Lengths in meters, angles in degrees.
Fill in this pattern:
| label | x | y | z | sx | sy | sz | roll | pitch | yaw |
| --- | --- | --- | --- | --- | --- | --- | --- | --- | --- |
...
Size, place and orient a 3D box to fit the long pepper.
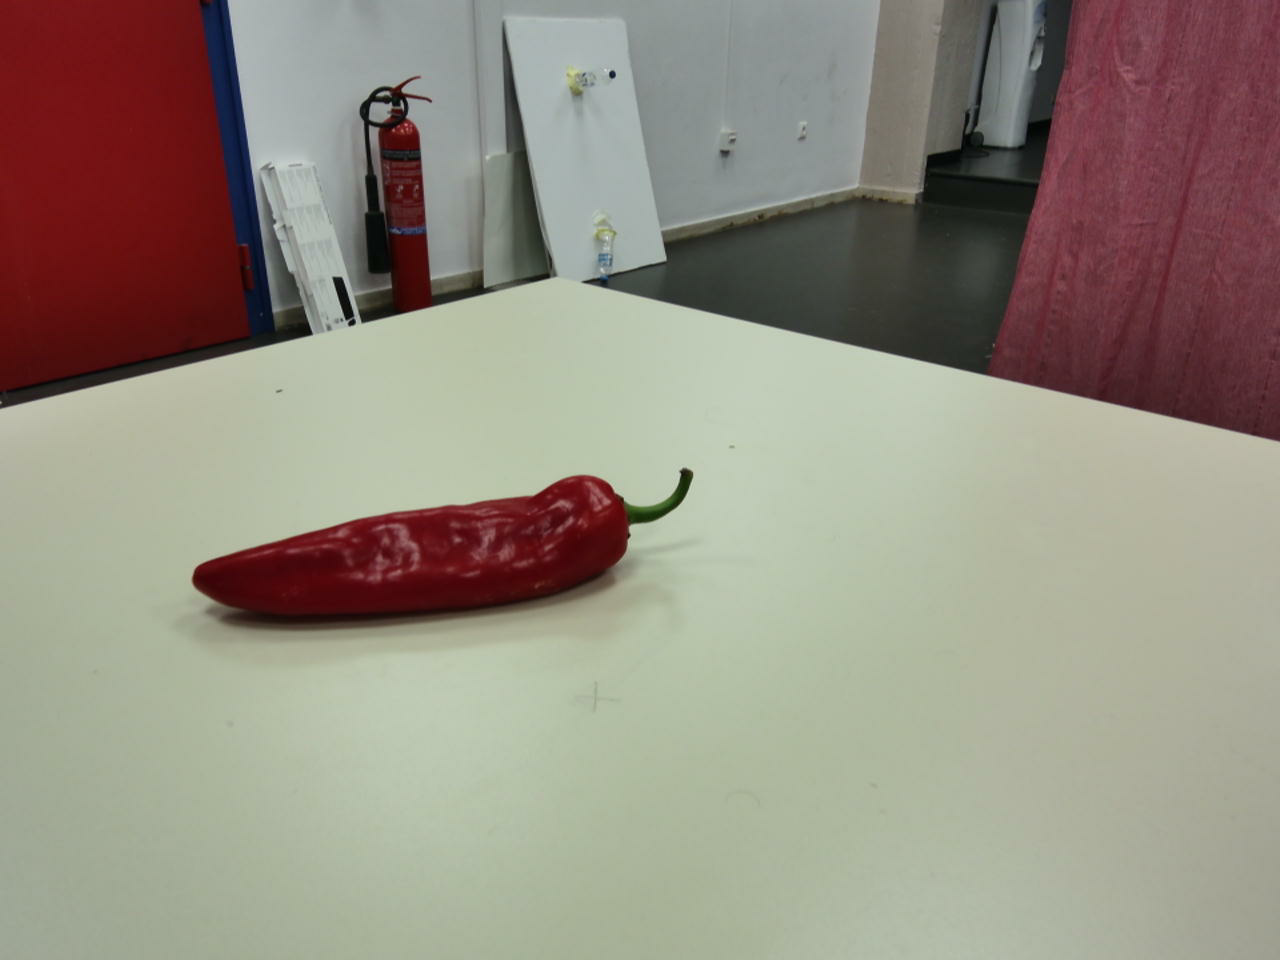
| label | x | y | z | sx | sy | sz | roll | pitch | yaw |
| --- | --- | --- | --- | --- | --- | --- | --- | --- | --- |
| long pepper | -0.073 | 0.028 | 0.416 | 0.211 | 0.043 | 0.050 | -7 | 24 | -18 |
